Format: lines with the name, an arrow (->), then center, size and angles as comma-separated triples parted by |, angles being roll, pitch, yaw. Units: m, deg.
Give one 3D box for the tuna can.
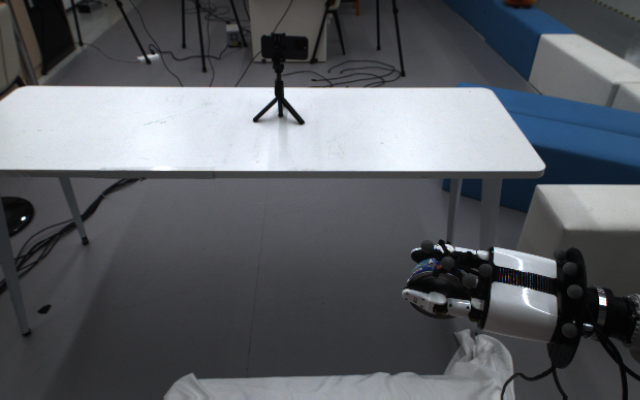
tuna can -> 0.168, 0.119, 0.671 | 0.085, 0.085, 0.034 | 12, 33, 14
